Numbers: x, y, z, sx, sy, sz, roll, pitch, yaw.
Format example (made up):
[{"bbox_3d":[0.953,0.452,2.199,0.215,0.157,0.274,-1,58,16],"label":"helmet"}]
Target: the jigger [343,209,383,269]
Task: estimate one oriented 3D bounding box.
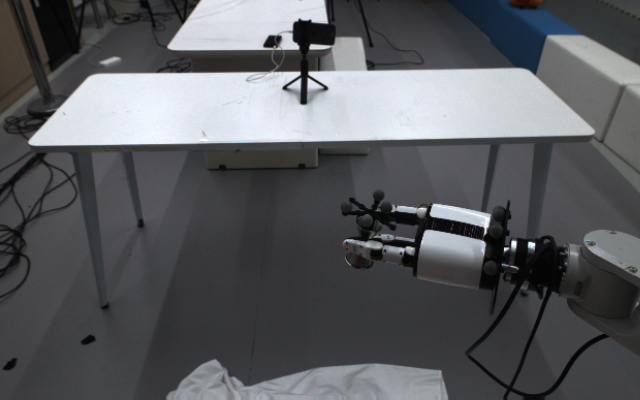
[{"bbox_3d":[0.064,0.061,0.715,0.043,0.071,0.043,9,30,-5],"label":"jigger"}]
